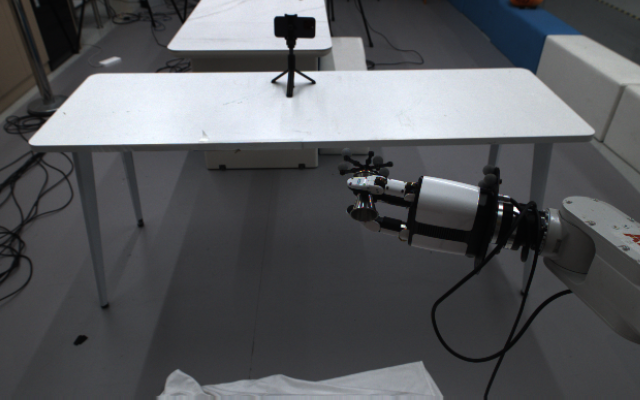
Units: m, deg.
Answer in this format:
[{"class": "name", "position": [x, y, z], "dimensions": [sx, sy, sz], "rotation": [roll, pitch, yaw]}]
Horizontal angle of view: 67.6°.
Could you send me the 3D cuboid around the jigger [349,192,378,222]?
[{"class": "jigger", "position": [0.068, -0.010, 0.746], "dimensions": [0.043, 0.043, 0.071], "rotation": [4, 61, 3]}]
